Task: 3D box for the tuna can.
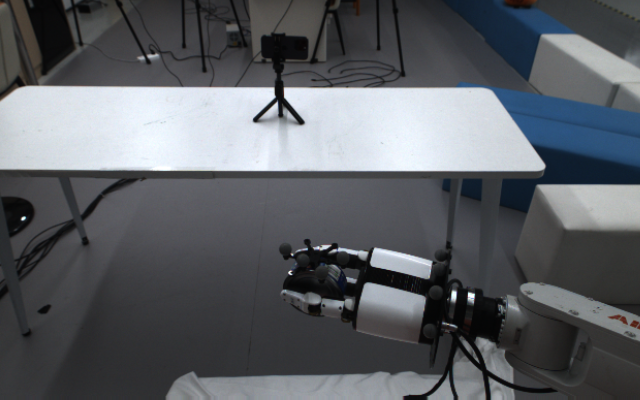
[{"bbox_3d":[-0.004,0.119,0.674,0.085,0.085,0.034,10,34,12],"label":"tuna can"}]
